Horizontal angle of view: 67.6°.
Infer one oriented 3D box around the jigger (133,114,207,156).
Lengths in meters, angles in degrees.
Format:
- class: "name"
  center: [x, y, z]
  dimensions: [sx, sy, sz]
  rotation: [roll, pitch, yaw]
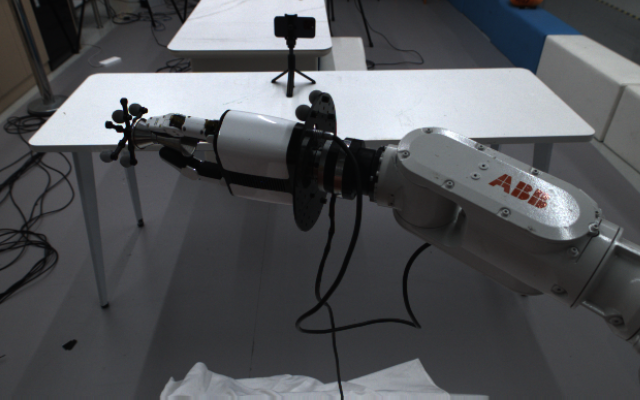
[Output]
- class: "jigger"
  center: [-0.188, -0.082, 0.604]
  dimensions: [0.071, 0.043, 0.043]
  rotation: [7, 35, 13]
